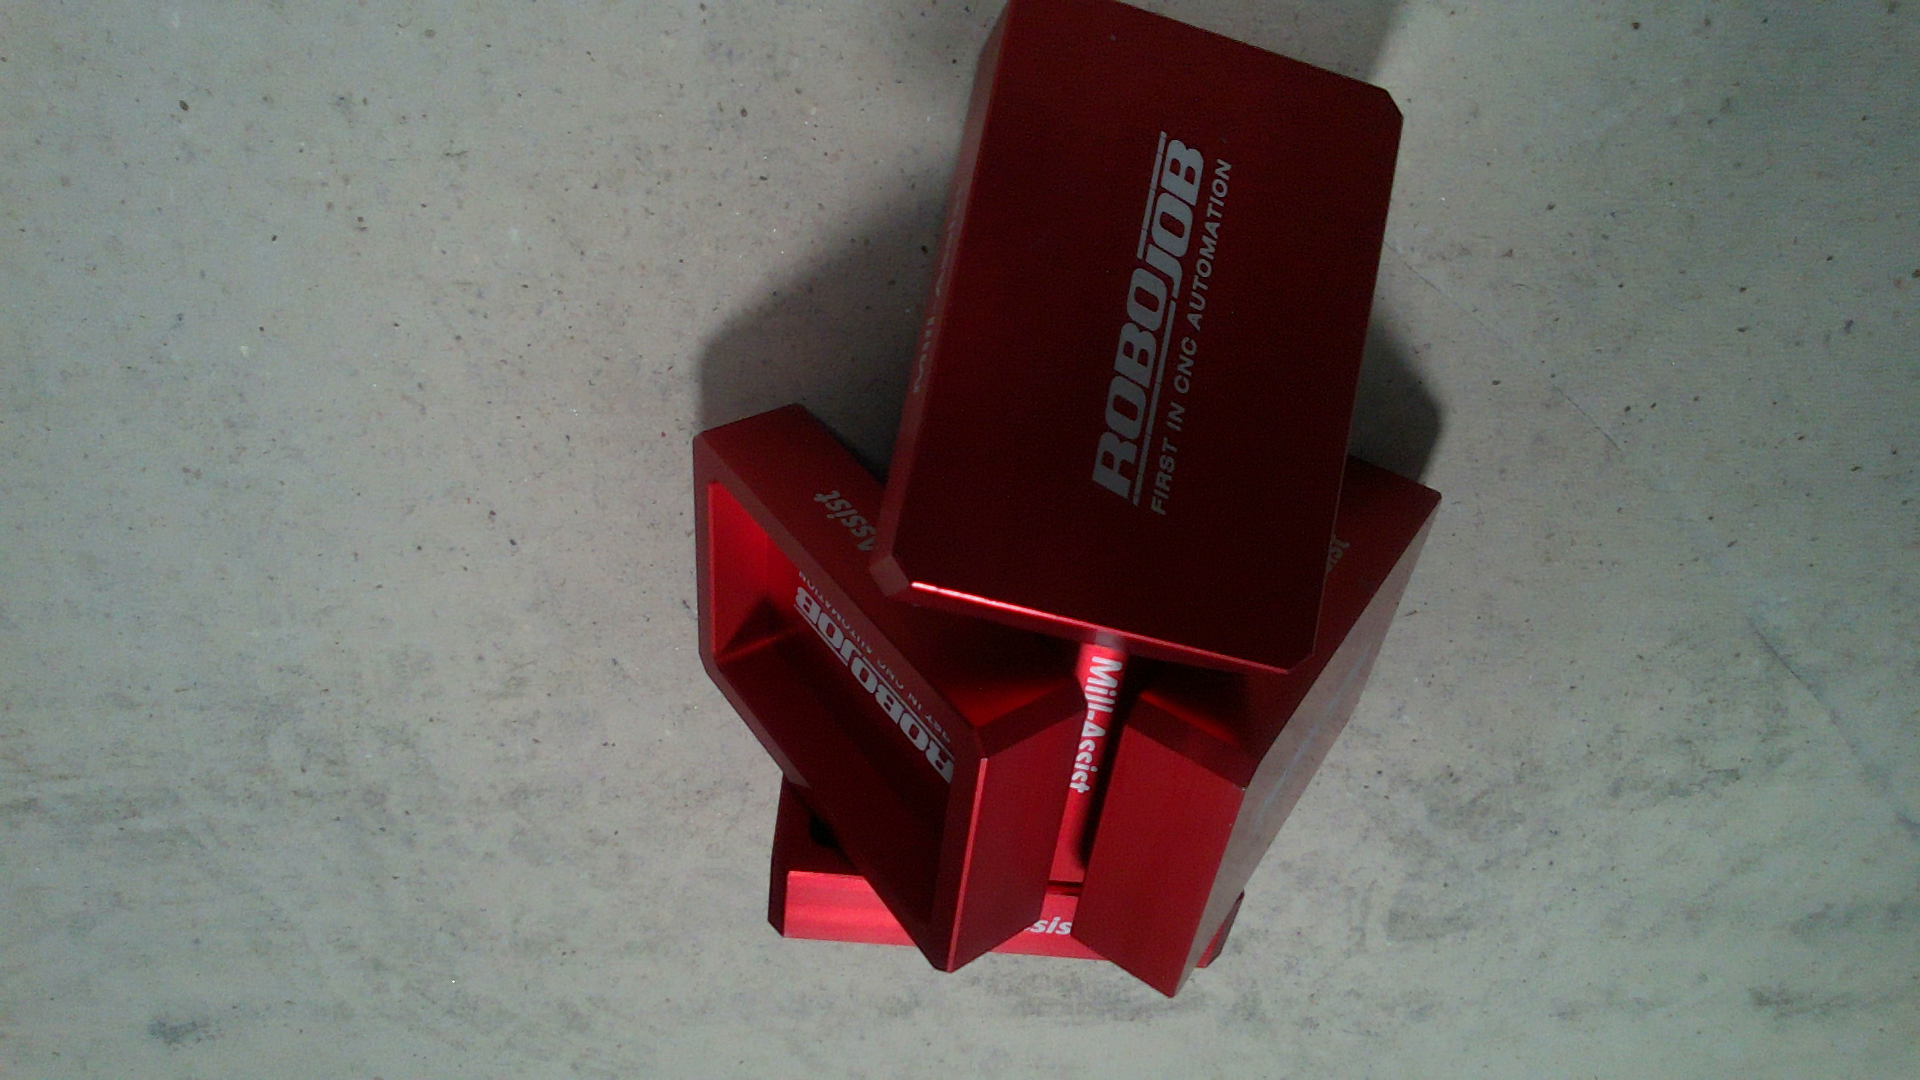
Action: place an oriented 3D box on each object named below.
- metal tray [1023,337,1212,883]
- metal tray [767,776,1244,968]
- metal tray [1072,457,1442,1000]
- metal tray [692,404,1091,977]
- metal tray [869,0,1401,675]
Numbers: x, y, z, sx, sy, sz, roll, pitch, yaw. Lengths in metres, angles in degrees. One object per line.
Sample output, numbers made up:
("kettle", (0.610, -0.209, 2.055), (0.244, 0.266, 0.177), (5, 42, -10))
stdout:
("metal tray", (0.031, 0.016, 0.361), (0.030, 0.090, 0.130), (5, 130, -4))
("metal tray", (0.012, 0.077, 0.413), (0.130, 0.090, 0.030), (5, 130, -5))
("metal tray", (0.080, 0.045, 0.364), (0.030, 0.130, 0.090), (27, 134, 21))
("metal tray", (-0.025, 0.036, 0.357), (0.030, 0.130, 0.090), (-22, 138, -30))
("metal tray", (0.038, -0.043, 0.294), (0.090, 0.130, 0.030), (13, 170, -11))
